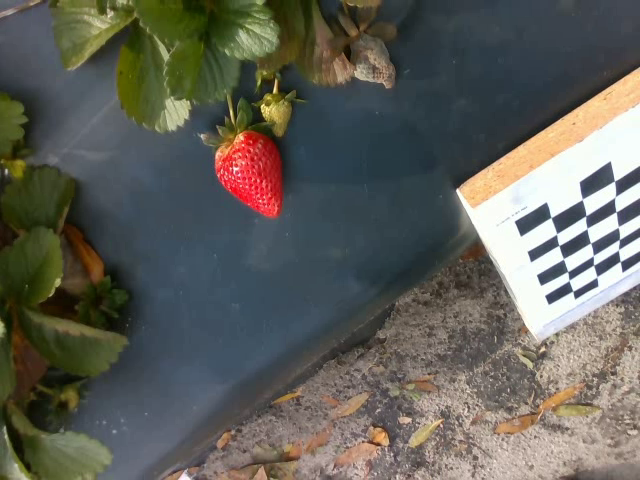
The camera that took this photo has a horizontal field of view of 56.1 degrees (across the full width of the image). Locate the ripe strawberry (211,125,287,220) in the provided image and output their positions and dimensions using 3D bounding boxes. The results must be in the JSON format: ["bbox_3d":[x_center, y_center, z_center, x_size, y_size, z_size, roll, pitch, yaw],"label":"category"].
[{"bbox_3d":[-0.037,-0.036,0.341,0.045,0.058,0.051,-31,5,7],"label":"ripe strawberry"}]
